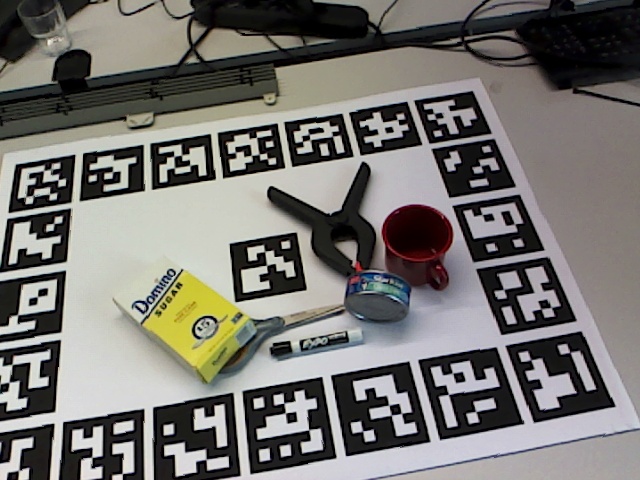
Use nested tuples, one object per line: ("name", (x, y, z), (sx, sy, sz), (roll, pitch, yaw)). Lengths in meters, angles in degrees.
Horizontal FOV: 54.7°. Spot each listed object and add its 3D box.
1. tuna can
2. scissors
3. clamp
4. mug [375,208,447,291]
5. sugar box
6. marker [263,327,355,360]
("tuna can", (0.079, 0.075, 0.811), (0.086, 0.085, 0.034), (5, 57, 8))
("scissors", (-0.066, 0.109, 0.836), (0.202, 0.016, 0.088), (-17, 53, -9))
("clamp", (0.028, -0.019, 0.920), (0.165, 0.036, 0.204), (-18, 58, -8))
("mug", (0.130, 0.025, 0.847), (0.093, 0.081, 0.118), (-32, 56, -17))
("sugar box", (-0.176, 0.098, 0.833), (0.177, 0.045, 0.092), (35, 65, 31))
("marker", (-0.015, 0.137, 0.816), (0.121, 0.019, 0.020), (-12, 57, -3))
